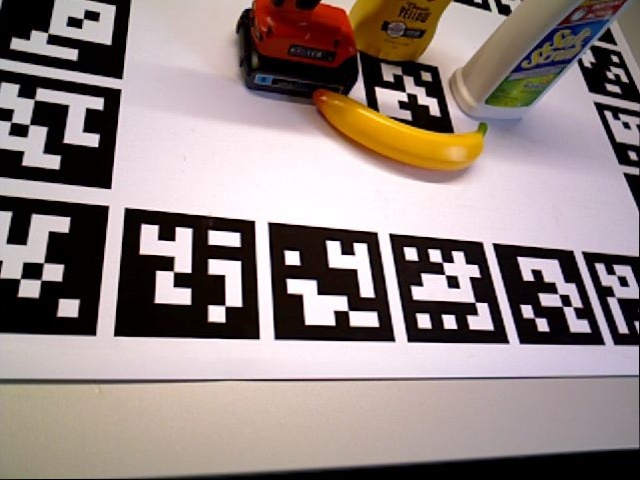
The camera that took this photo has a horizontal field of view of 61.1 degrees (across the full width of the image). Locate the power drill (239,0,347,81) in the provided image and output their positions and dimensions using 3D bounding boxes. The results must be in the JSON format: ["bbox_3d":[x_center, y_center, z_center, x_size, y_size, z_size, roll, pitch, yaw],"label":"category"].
[{"bbox_3d":[0.019,-0.225,0.448,0.182,0.192,0.057,2,56,-24],"label":"power drill"}]

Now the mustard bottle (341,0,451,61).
[{"bbox_3d":[0.100,-0.264,0.524,0.095,0.196,0.058,5,61,-22],"label":"mustard bottle"}]

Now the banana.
[{"bbox_3d":[0.093,-0.102,0.529,0.195,0.039,0.073,6,66,-17],"label":"banana"}]

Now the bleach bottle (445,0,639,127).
[{"bbox_3d":[0.233,-0.212,0.527,0.101,0.256,0.067,-4,66,-25],"label":"bleach bottle"}]
